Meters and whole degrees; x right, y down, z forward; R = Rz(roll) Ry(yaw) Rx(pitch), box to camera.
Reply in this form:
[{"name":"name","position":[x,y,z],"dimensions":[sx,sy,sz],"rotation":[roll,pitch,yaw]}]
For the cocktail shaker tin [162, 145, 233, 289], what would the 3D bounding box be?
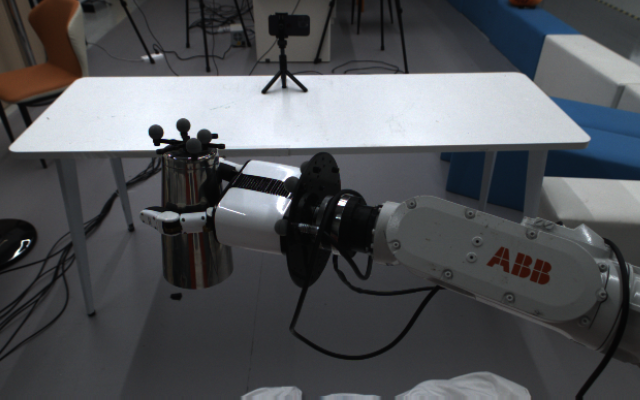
[{"name":"cocktail shaker tin","position":[-0.159,0.017,0.615],"dimensions":[0.093,0.170,0.093],"rotation":[2,26,-1]}]
